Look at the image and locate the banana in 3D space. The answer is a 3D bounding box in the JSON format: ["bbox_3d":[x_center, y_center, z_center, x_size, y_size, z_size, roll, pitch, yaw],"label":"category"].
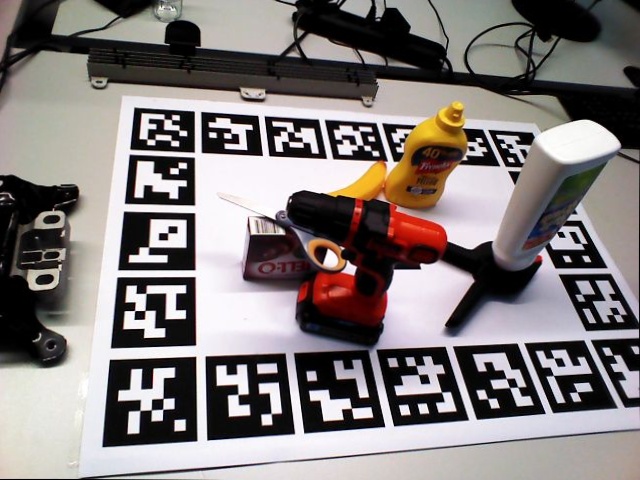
[{"bbox_3d":[0.055,-0.100,0.831,0.074,0.039,0.196,30,51,31],"label":"banana"}]

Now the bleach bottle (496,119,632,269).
[{"bbox_3d":[0.307,-0.039,0.703,0.102,0.252,0.068,-19,56,-18],"label":"bleach bottle"}]

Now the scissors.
[{"bbox_3d":[-0.049,-0.038,0.649,0.203,0.016,0.087,24,55,-2],"label":"scissors"}]

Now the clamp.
[{"bbox_3d":[0.254,0.036,0.767,0.202,0.037,0.165,-4,56,-18],"label":"clamp"}]

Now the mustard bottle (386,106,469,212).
[{"bbox_3d":[0.175,-0.125,0.796,0.096,0.192,0.058,13,51,-6],"label":"mustard bottle"}]

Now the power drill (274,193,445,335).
[{"bbox_3d":[0.030,0.029,0.602,0.185,0.188,0.057,10,45,-3],"label":"power drill"}]

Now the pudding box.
[{"bbox_3d":[-0.053,0.007,0.697,0.114,0.090,0.038,5,46,-11],"label":"pudding box"}]
